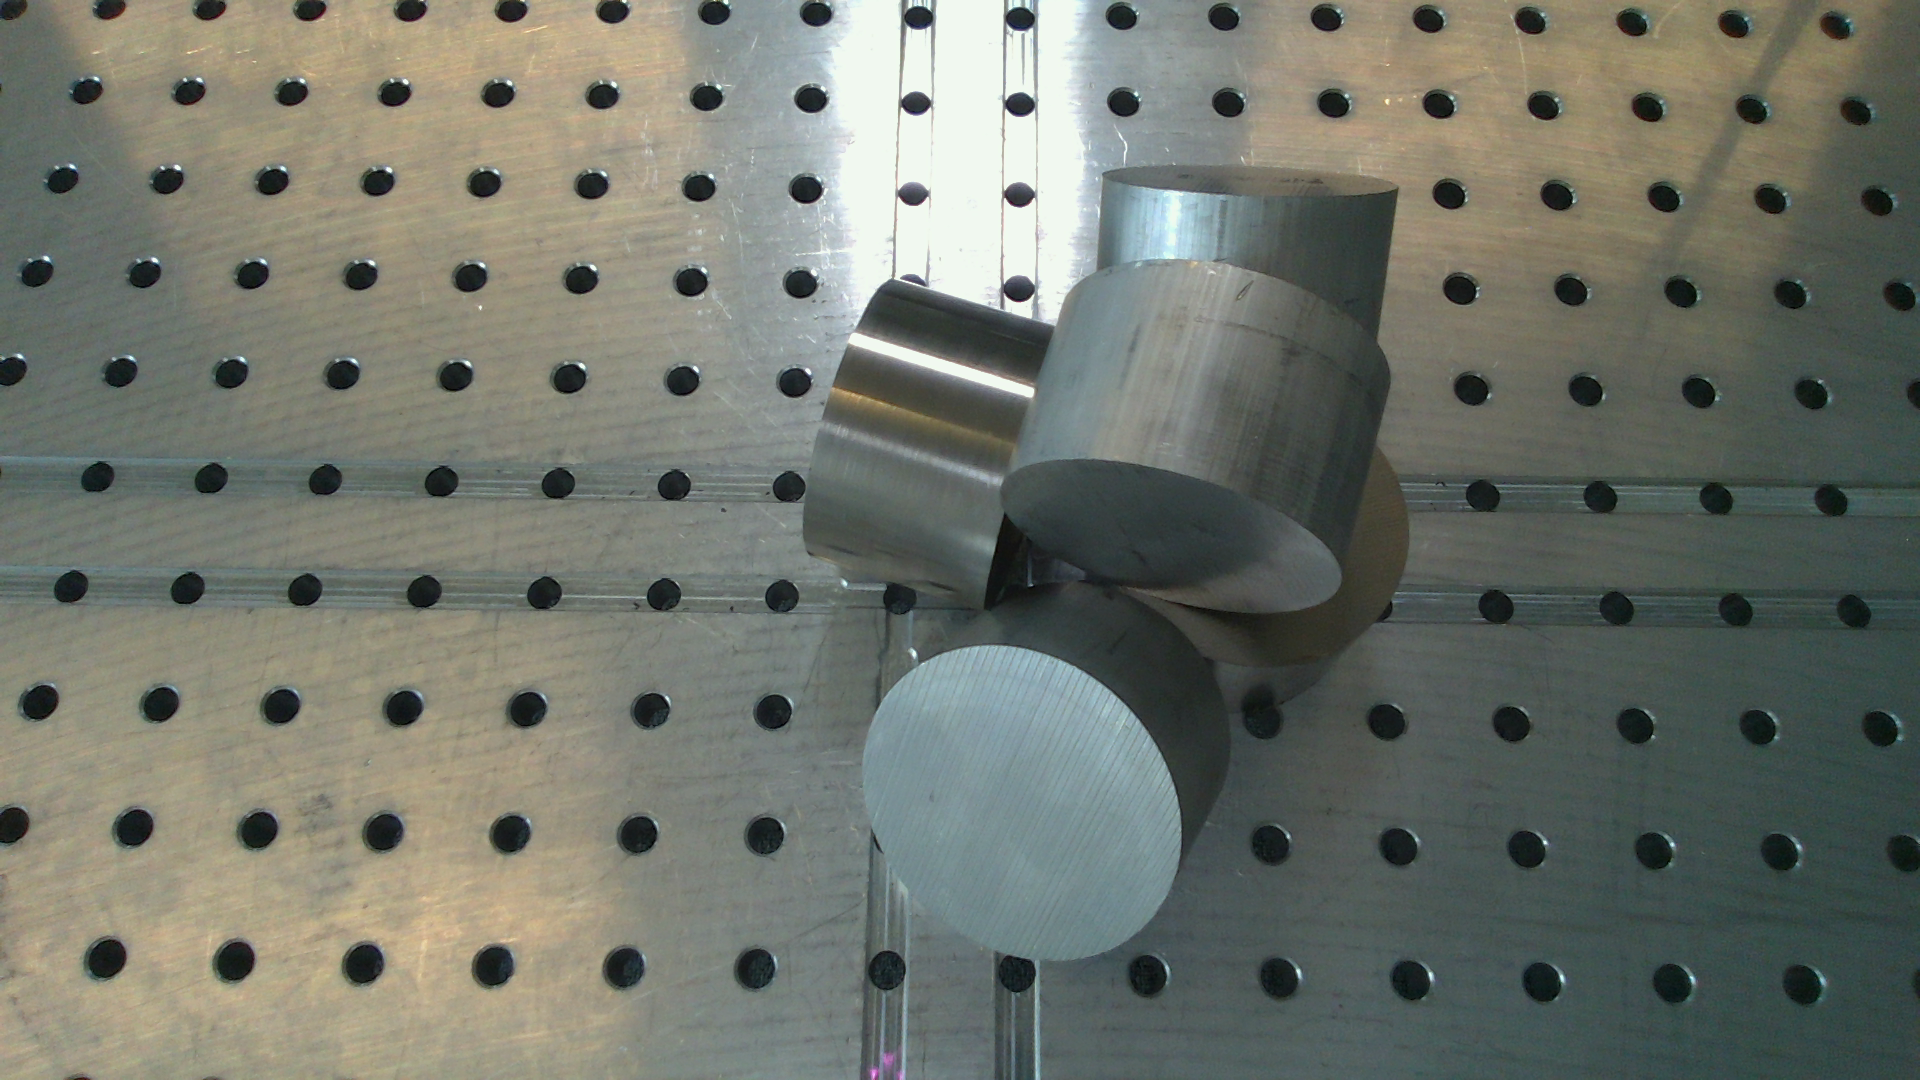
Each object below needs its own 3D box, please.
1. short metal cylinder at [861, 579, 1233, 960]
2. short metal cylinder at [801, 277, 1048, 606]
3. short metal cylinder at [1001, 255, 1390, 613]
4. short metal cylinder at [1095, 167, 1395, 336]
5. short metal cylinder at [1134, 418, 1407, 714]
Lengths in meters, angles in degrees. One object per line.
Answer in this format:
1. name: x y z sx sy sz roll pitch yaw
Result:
1. short metal cylinder: 0.023 0.055 0.342 0.080 0.050 0.080 7 108 22
2. short metal cylinder: -0.005 -0.026 0.377 0.050 0.080 0.080 18 71 6
3. short metal cylinder: 0.055 -0.022 0.322 0.080 0.080 0.050 16 71 6
4. short metal cylinder: 0.078 -0.076 0.388 0.080 0.080 0.050 2 110 1
5. short metal cylinder: 0.077 0.003 0.382 0.080 0.050 0.080 0 69 0
